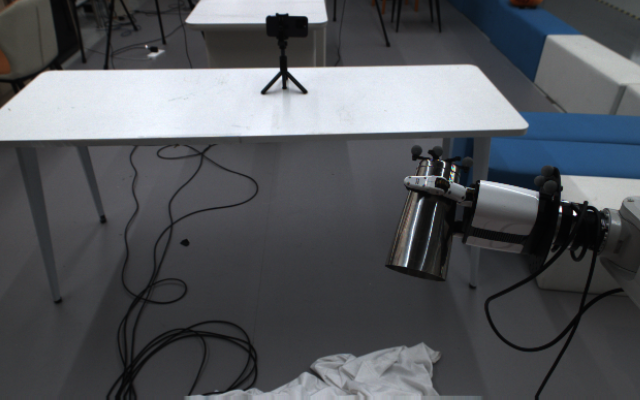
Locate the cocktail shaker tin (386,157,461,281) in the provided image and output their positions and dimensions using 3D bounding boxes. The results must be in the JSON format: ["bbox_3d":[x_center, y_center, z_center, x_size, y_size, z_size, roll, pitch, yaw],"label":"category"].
[{"bbox_3d":[0.165,0.025,0.733,0.093,0.093,0.170,13,77,15],"label":"cocktail shaker tin"}]
